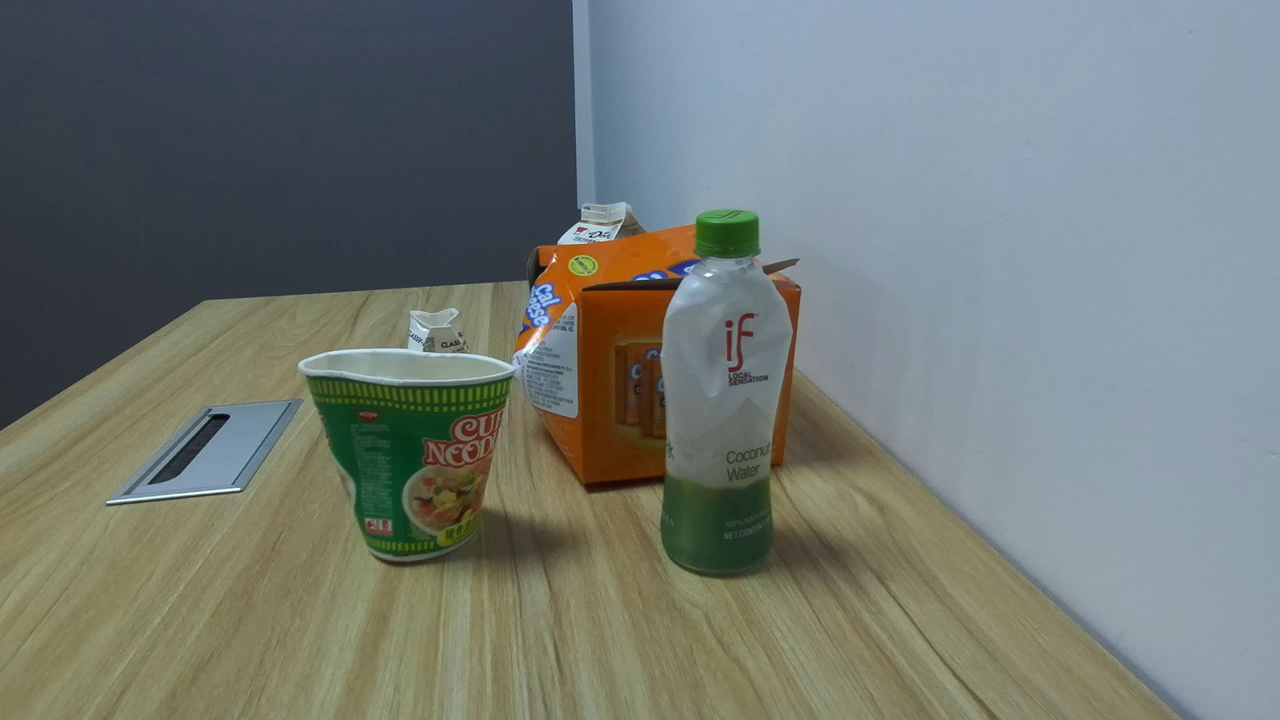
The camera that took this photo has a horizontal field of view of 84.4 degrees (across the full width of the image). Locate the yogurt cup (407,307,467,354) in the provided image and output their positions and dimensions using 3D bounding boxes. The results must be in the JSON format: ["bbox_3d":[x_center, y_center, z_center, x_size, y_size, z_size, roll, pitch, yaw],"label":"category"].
[{"bbox_3d":[-0.177,-0.004,0.621,0.055,0.072,0.055,-2,22,-5],"label":"yogurt cup"}]

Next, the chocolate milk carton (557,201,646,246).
[{"bbox_3d":[-0.032,-0.085,0.708,0.074,0.148,0.075,-22,30,-40],"label":"chocolate milk carton"}]

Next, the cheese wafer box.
[{"bbox_3d":[-0.004,-0.022,0.548,0.192,0.145,0.218,-6,21,-12],"label":"cheese wafer box"}]

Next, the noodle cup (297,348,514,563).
[{"bbox_3d":[-0.132,0.050,0.406,0.114,0.111,0.070,13,26,32],"label":"noodle cup"}]

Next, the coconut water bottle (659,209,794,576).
[{"bbox_3d":[0.043,0.017,0.369,0.067,0.187,0.067,0,21,0],"label":"coconut water bottle"}]
